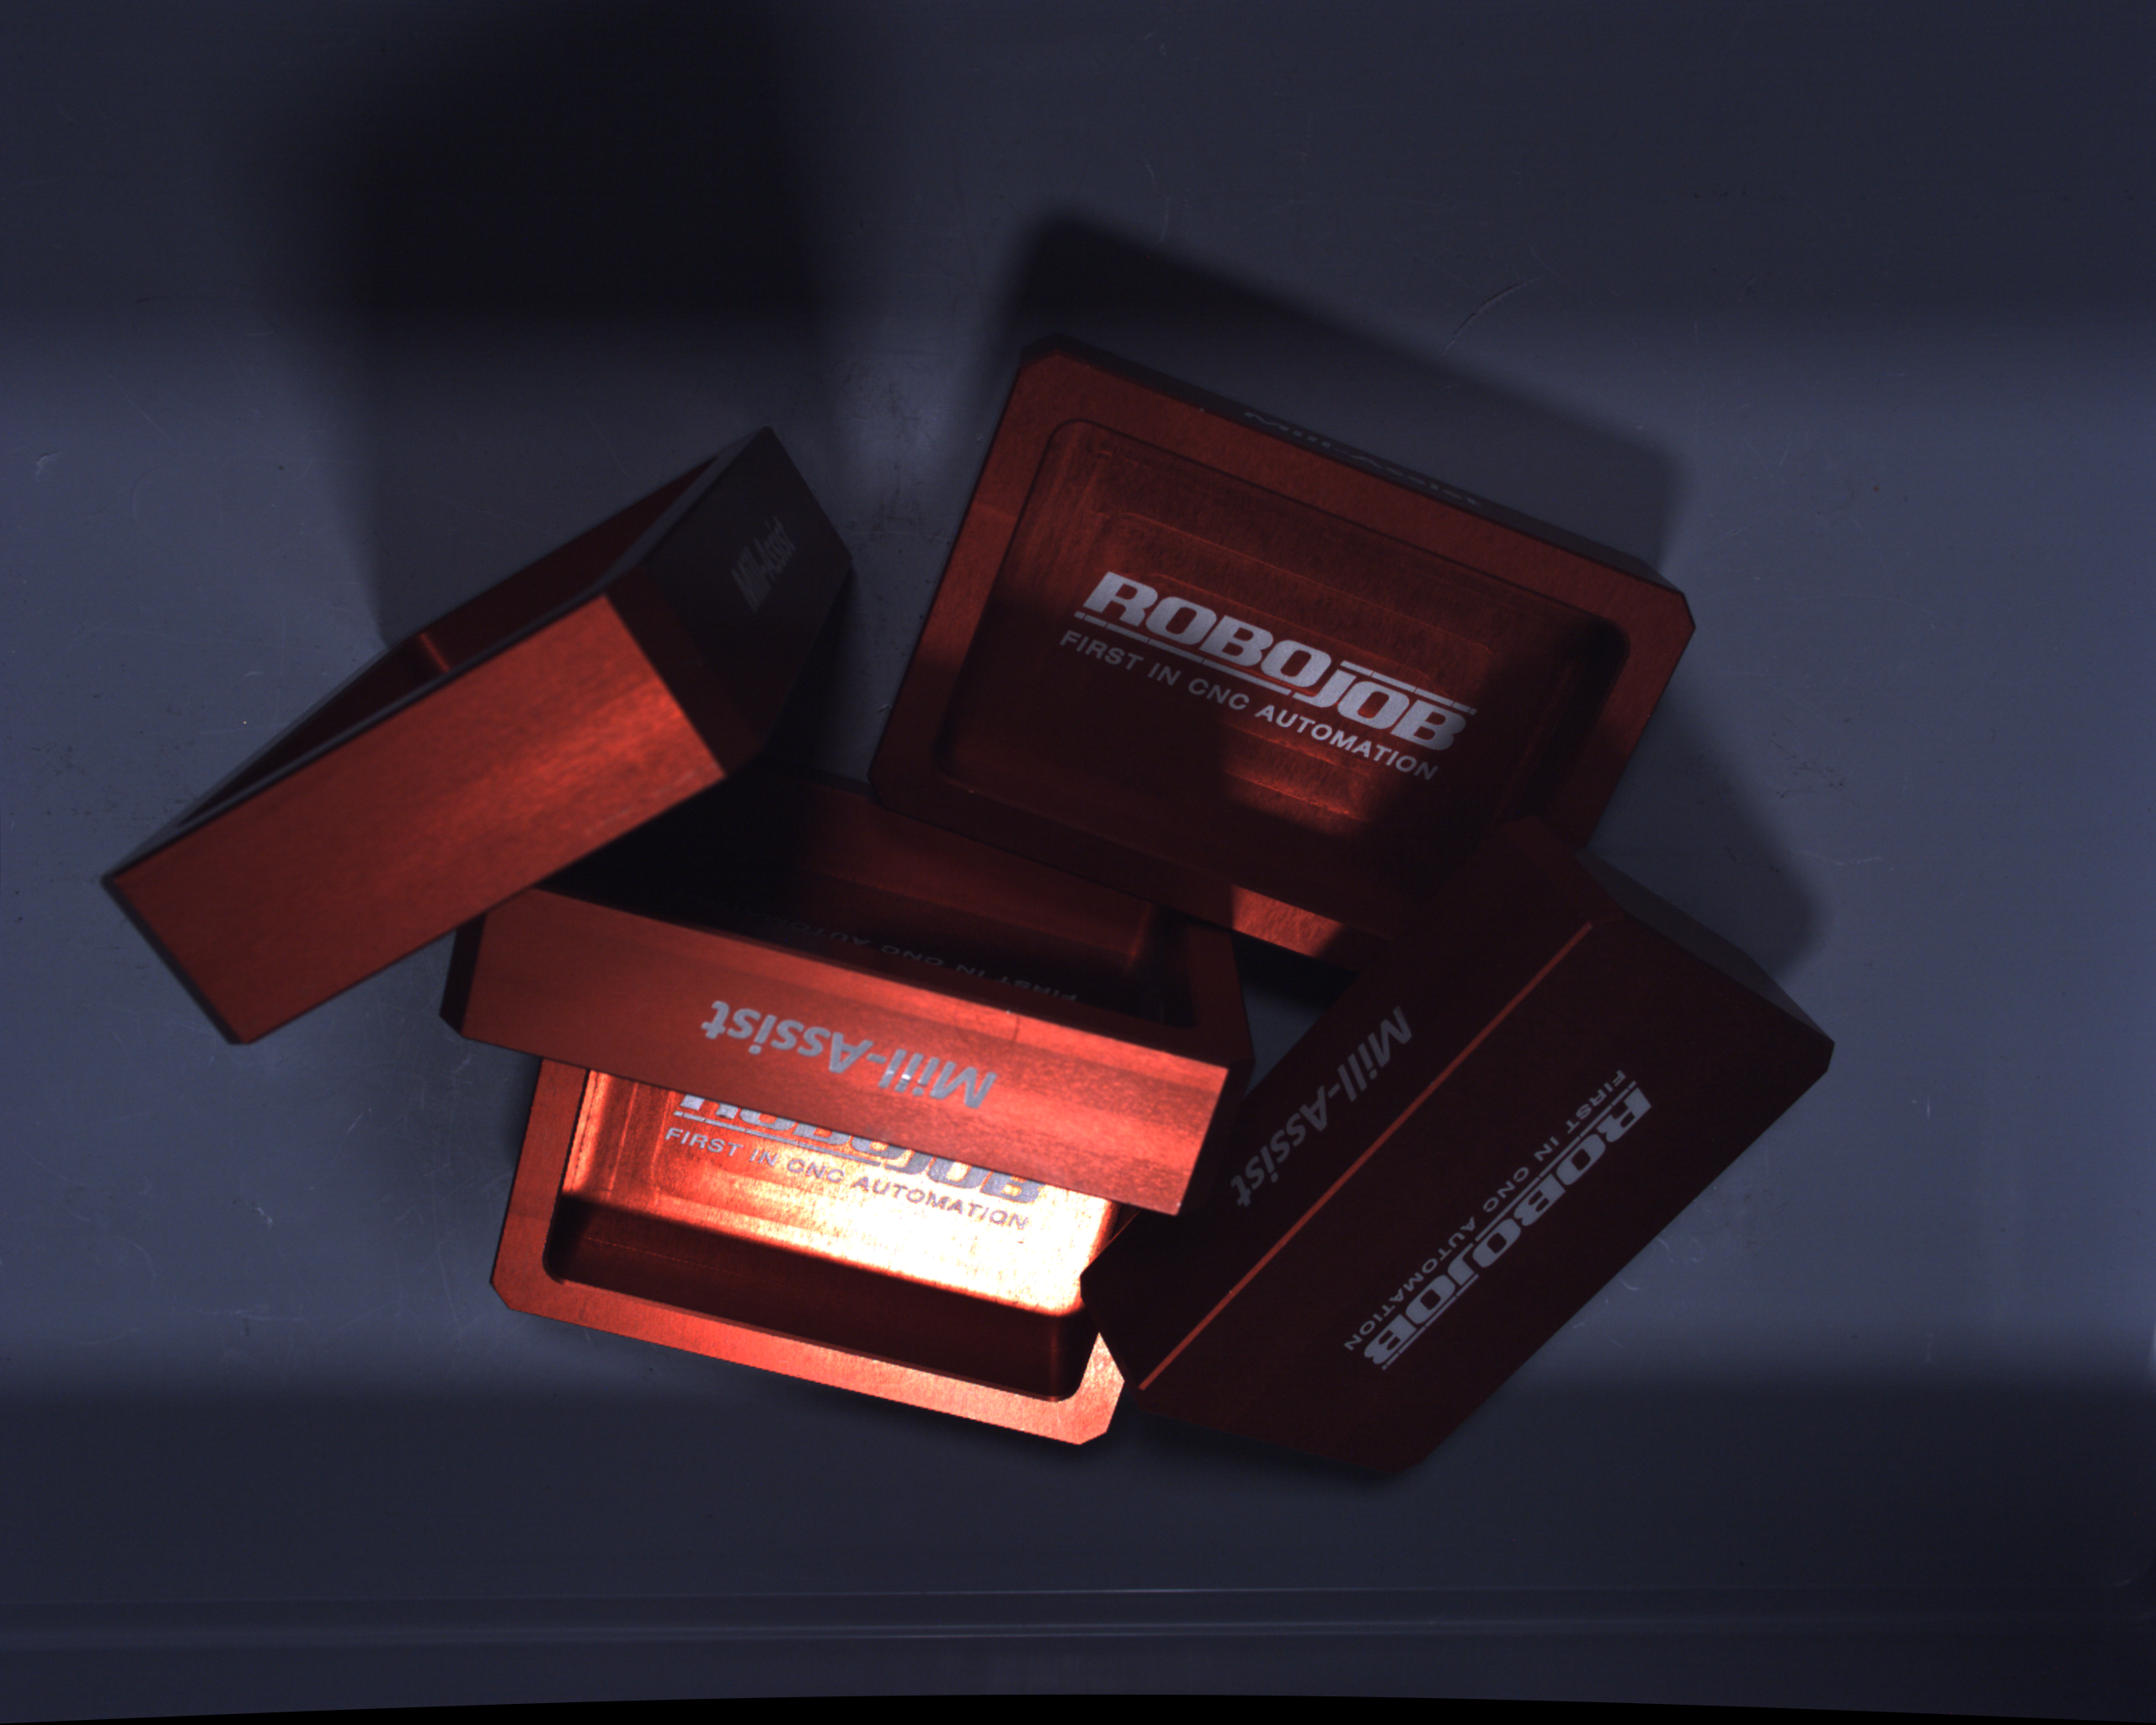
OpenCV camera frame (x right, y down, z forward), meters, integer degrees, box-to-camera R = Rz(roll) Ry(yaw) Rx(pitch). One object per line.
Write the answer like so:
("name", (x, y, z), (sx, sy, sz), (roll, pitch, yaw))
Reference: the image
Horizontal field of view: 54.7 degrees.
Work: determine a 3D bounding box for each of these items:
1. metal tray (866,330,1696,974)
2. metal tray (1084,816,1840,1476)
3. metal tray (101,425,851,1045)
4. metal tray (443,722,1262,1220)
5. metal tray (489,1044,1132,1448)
("metal tray", (0.036, -0.035, 0.395), (0.131, 0.030, 0.089), (20, 109, -8))
("metal tray", (0.075, 0.061, 0.409), (0.090, 0.030, 0.130), (27, 110, -40))
("metal tray", (-0.089, -0.028, 0.341), (0.090, 0.130, 0.030), (-28, 108, 10))
("metal tray", (-0.037, 0.016, 0.379), (0.131, 0.090, 0.030), (15, 109, -6))
("metal tray", (-0.045, 0.062, 0.428), (0.131, 0.030, 0.089), (15, 109, -6))
